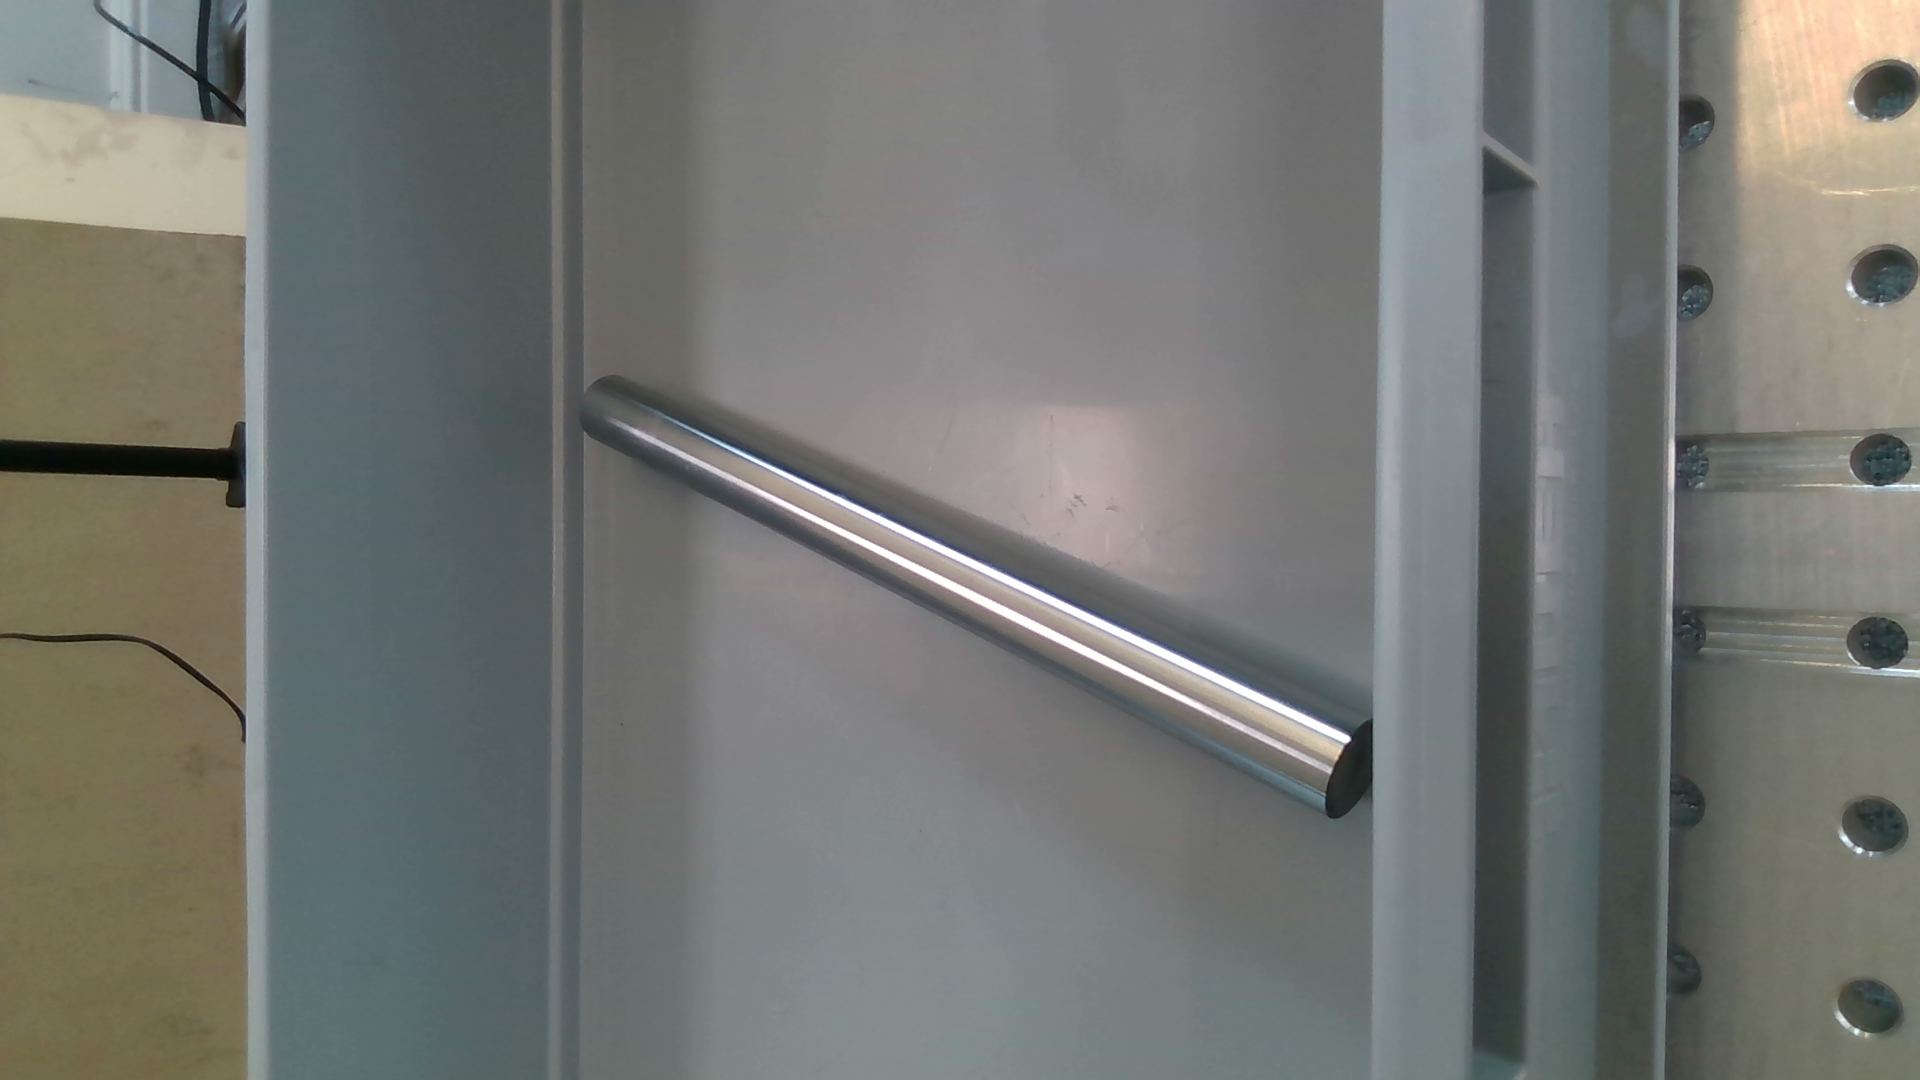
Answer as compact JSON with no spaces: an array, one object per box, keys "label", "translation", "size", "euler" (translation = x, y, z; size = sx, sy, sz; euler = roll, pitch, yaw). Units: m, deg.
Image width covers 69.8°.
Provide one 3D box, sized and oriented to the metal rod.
[{"label":"metal rod","translation":[-0.019,0.001,0.403],"size":[0.300,0.025,0.025],"euler":[25,106,37]}]
